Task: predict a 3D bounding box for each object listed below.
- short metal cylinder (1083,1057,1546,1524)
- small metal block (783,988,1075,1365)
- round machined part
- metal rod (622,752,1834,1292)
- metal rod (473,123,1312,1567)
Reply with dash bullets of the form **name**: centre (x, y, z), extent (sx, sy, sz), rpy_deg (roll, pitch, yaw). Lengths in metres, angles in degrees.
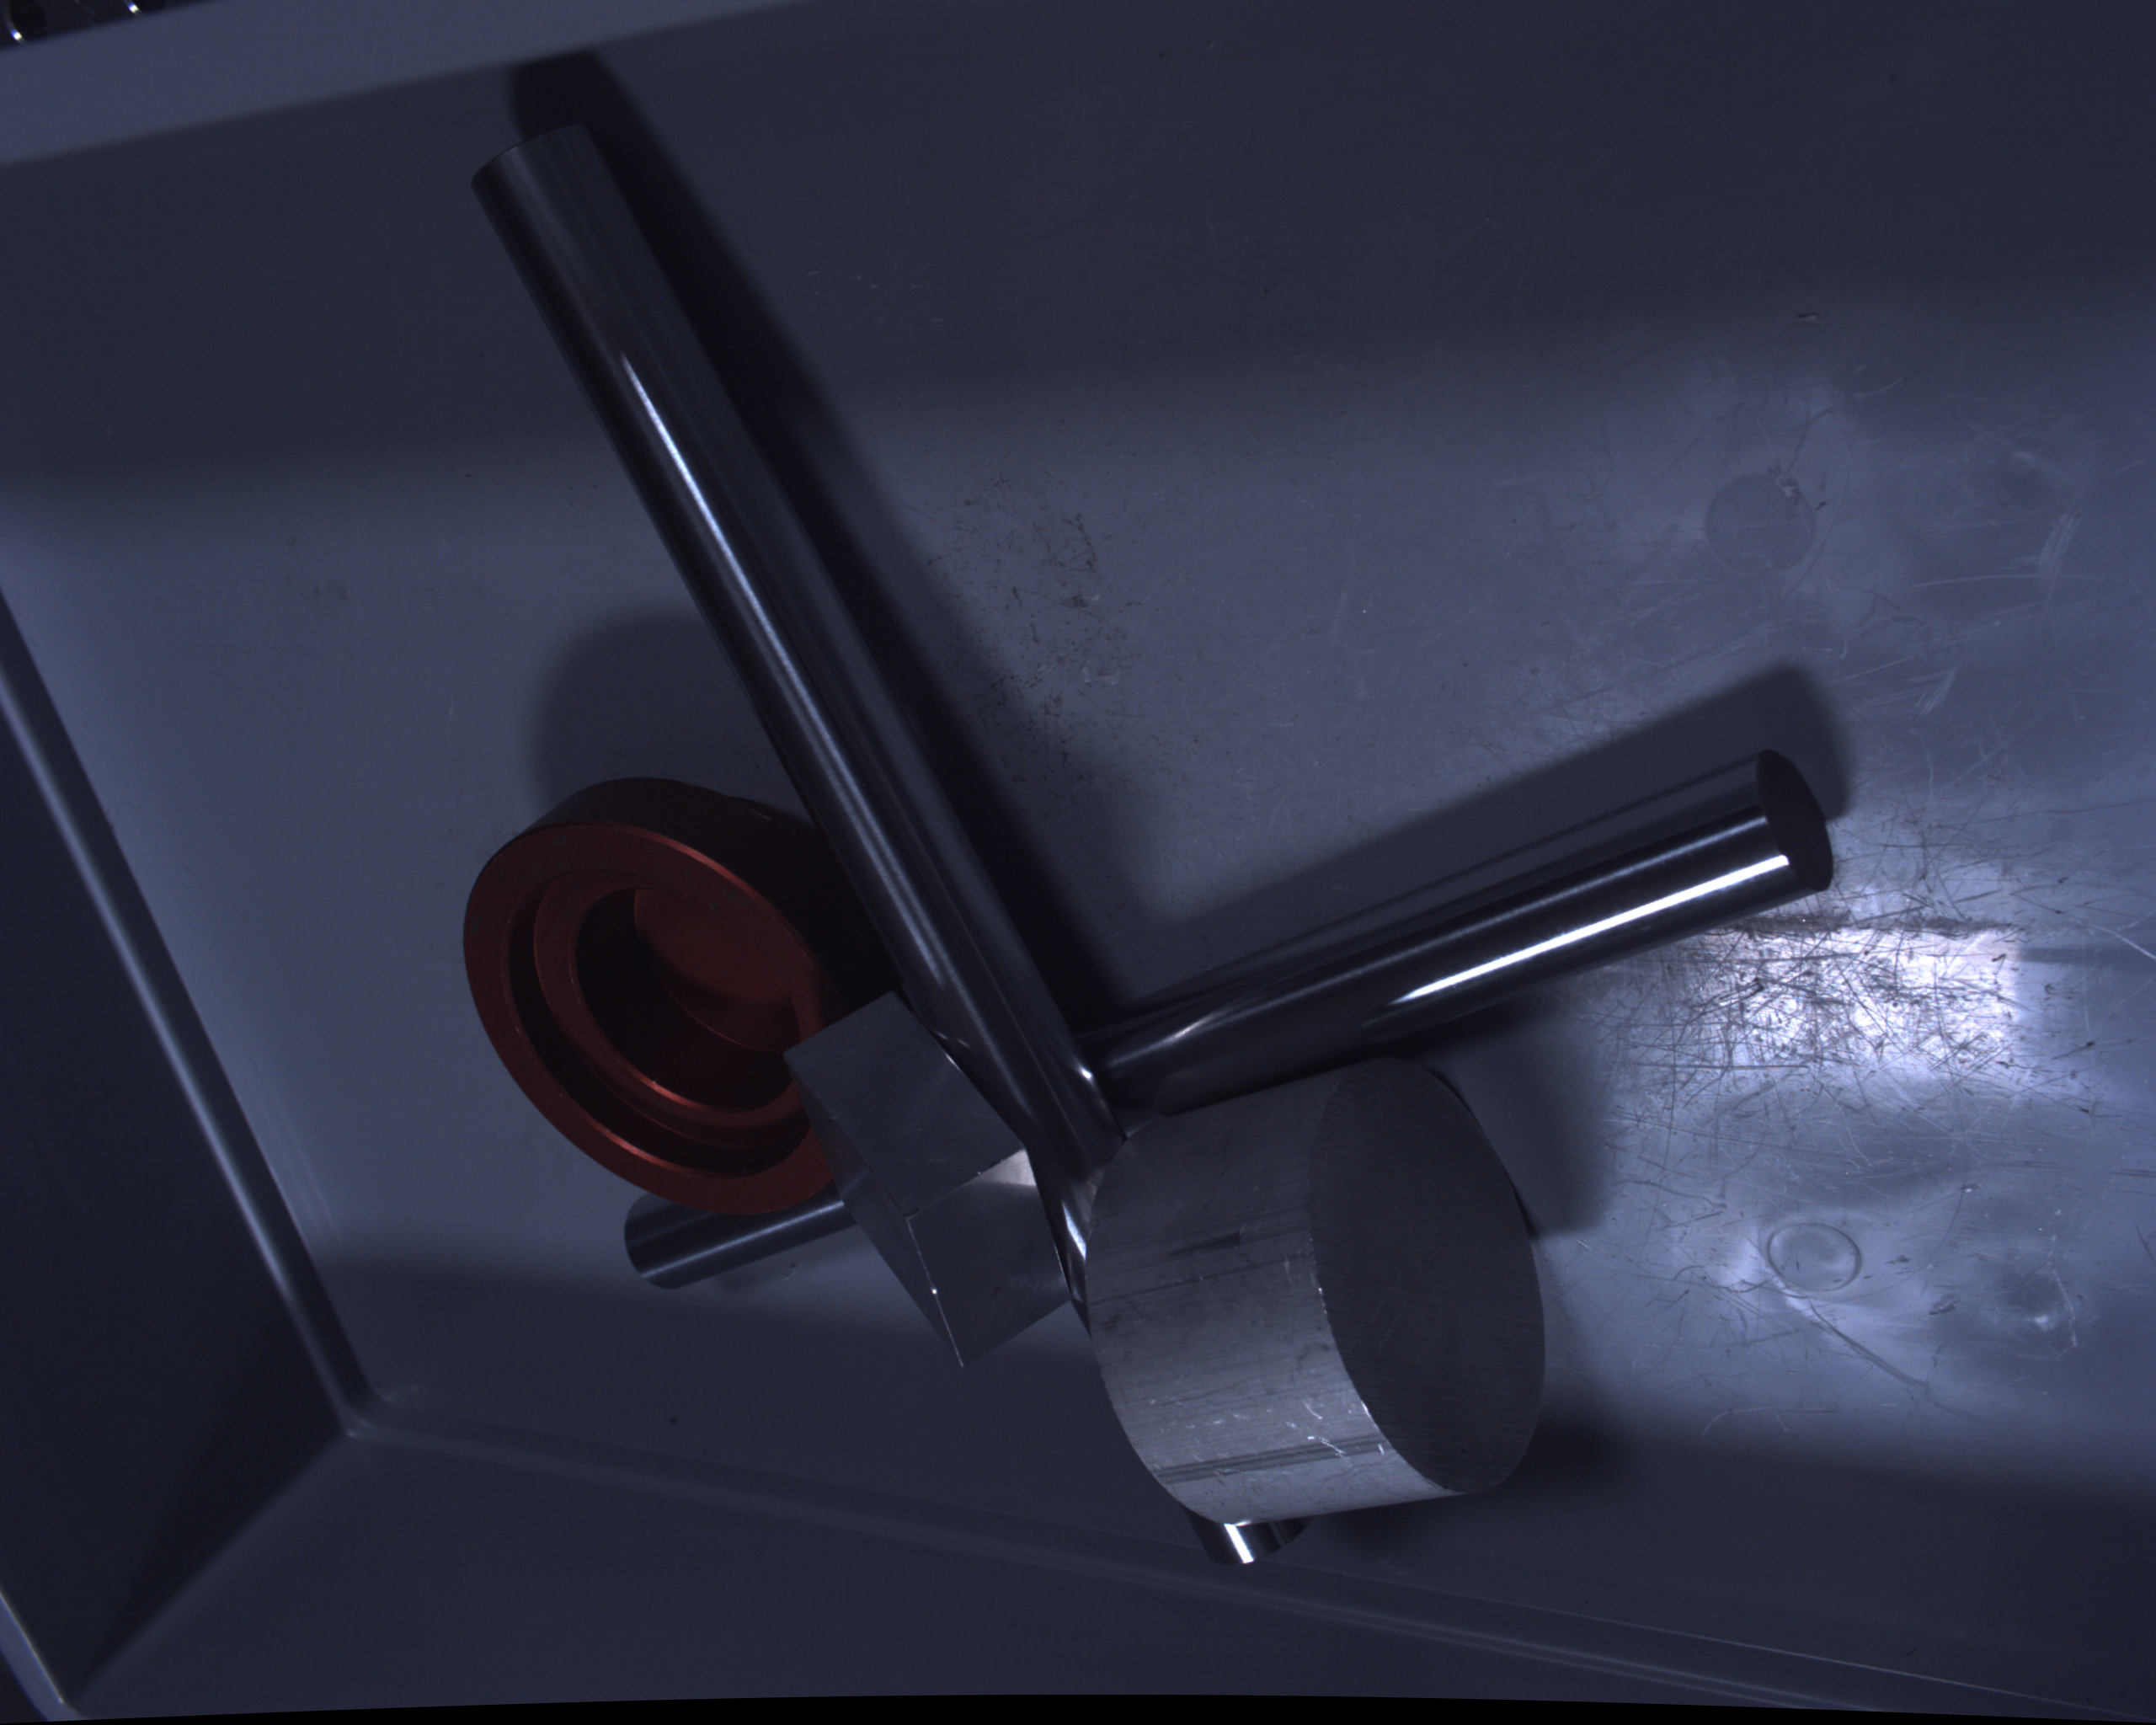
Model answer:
- **short metal cylinder**: centre (0.046, 0.082, 0.396), extent (0.050, 0.080, 0.080), rpy_deg (-21, 107, 36)
- **small metal block**: centre (-0.029, 0.060, 0.405), extent (0.050, 0.025, 0.050), rpy_deg (44, 157, 41)
- **round machined part**: centre (-0.080, 0.024, 0.451), extent (0.098, 0.042, 0.097), rpy_deg (13, 124, 20)
- **metal rod**: centre (0.007, 0.044, 0.429), extent (0.299, 0.025, 0.025), rpy_deg (-25, 105, 36)
- **metal rod**: centre (-0.030, 0.003, 0.400), extent (0.025, 0.025, 0.299), rpy_deg (-21, 101, 35)
